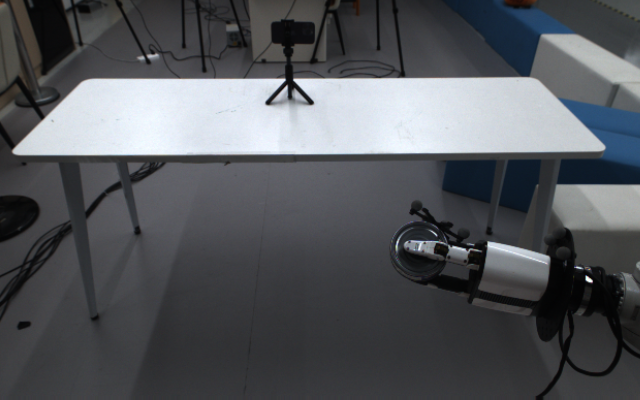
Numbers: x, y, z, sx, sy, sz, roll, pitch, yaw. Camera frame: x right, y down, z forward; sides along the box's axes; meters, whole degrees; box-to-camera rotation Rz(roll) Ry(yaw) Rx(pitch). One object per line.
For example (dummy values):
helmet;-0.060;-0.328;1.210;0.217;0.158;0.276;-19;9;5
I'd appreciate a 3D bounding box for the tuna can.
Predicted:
tuna can;0.148;0.073;0.713;0.085;0.034;0.085;-4;69;10
